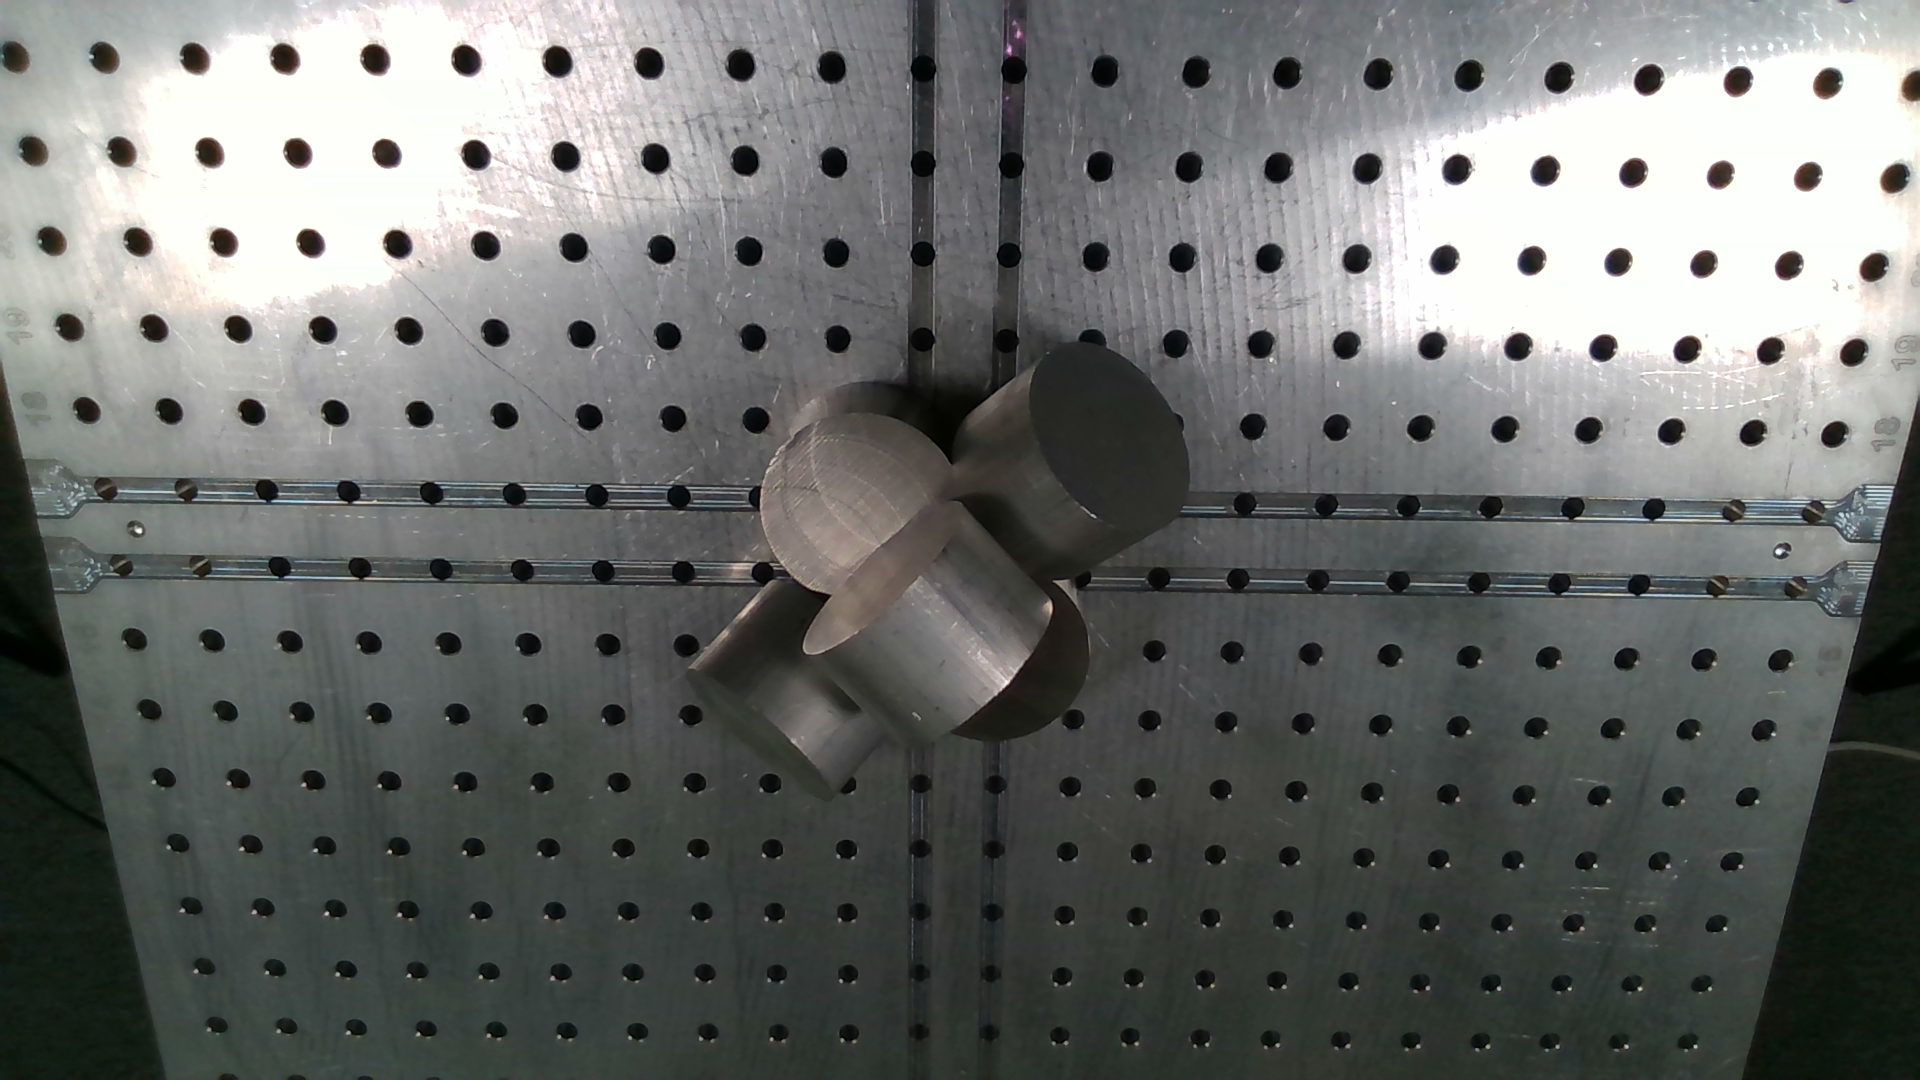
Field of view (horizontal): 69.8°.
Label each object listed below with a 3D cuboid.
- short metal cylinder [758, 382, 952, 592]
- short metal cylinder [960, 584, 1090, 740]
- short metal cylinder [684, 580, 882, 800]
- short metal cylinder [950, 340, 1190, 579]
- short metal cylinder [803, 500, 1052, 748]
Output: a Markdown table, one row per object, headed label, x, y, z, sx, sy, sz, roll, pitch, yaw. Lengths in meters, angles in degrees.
| label | x | y | z | sx | sy | sz | roll | pitch | yaw |
| --- | --- | --- | --- | --- | --- | --- | --- | --- | --- |
| short metal cylinder | -0.039 | -0.021 | 0.565 | 0.080 | 0.050 | 0.080 | 0 | 110 | 0 |
| short metal cylinder | 0.013 | 0.038 | 0.587 | 0.080 | 0.050 | 0.080 | 0 | 110 | 0 |
| short metal cylinder | -0.068 | 0.063 | 0.573 | 0.080 | 0.080 | 0.050 | 47 | 68 | -15 |
| short metal cylinder | 0.043 | -0.031 | 0.539 | 0.080 | 0.080 | 0.050 | 42 | 139 | -14 |
| short metal cylinder | -0.012 | 0.031 | 0.514 | 0.080 | 0.080 | 0.050 | -40 | 105 | 13 |
